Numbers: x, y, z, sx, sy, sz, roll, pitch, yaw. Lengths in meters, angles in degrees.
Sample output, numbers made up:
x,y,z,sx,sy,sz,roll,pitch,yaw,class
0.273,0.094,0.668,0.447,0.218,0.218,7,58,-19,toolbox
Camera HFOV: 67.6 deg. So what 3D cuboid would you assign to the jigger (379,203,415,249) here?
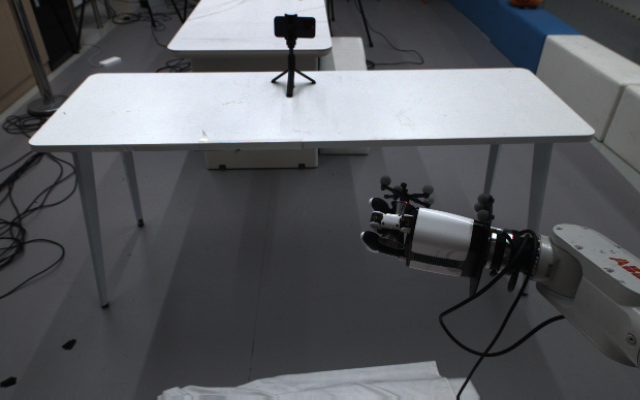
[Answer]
x,y,z,sx,sy,sz,roll,pitch,yaw,class
0.126,0.038,0.770,0.043,0.043,0.071,13,69,15,jigger
